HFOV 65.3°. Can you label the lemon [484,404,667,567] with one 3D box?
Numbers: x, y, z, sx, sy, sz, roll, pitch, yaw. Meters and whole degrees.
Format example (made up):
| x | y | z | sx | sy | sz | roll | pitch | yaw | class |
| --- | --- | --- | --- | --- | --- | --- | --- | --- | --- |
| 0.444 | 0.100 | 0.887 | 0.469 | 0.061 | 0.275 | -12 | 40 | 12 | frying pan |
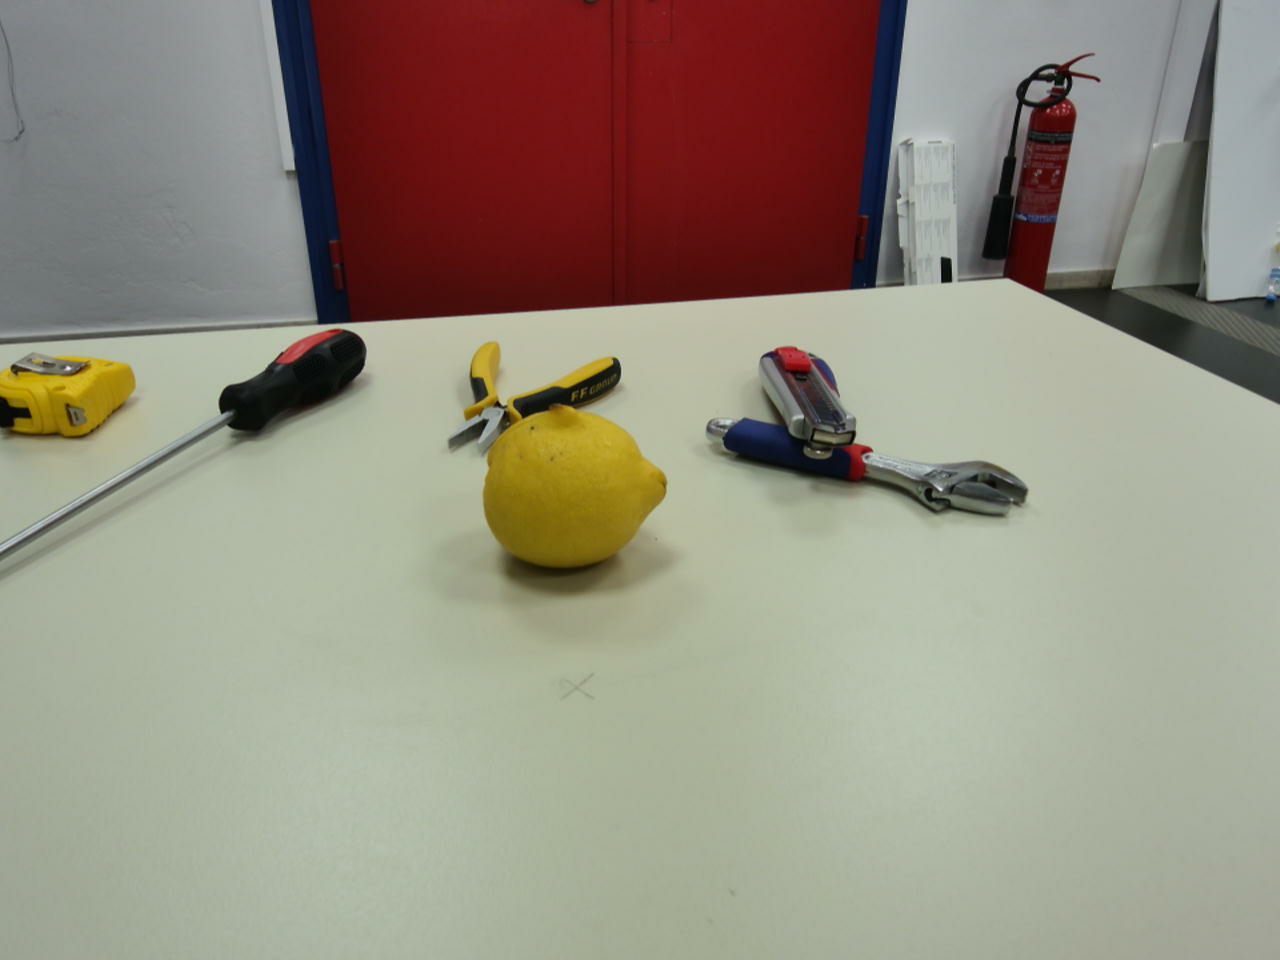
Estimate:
| x | y | z | sx | sy | sz | roll | pitch | yaw | class |
| --- | --- | --- | --- | --- | --- | --- | --- | --- | --- |
| -0.031 | 0.000 | 0.423 | 0.071 | 0.071 | 0.070 | 20 | 32 | 38 | lemon |
